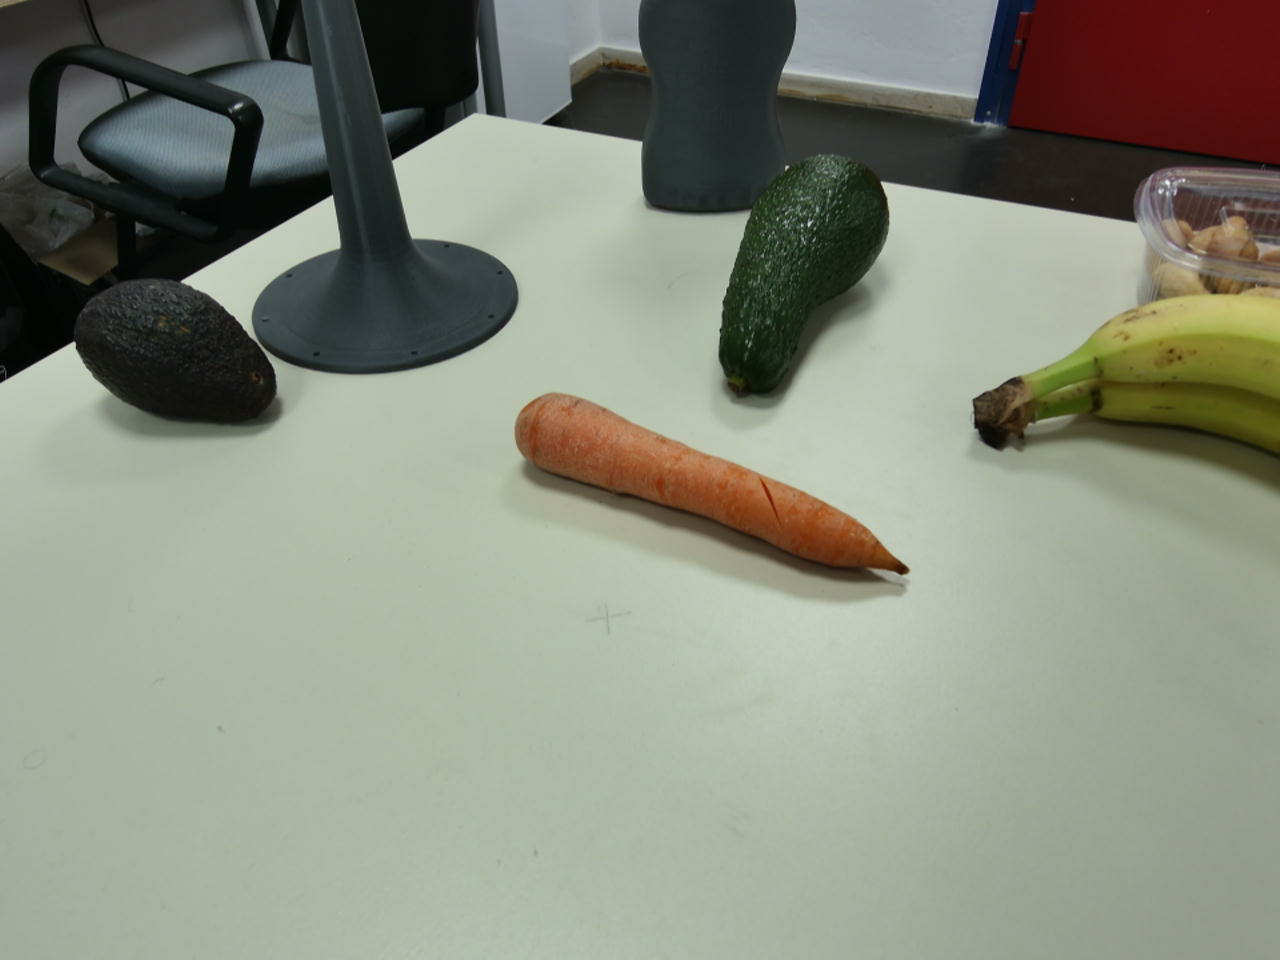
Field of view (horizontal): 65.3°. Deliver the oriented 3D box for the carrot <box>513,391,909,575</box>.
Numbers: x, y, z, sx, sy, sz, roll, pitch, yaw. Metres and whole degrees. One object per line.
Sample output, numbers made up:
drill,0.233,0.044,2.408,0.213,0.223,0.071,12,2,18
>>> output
carrot,0.028,0.000,0.458,0.196,0.041,0.039,18,40,21
